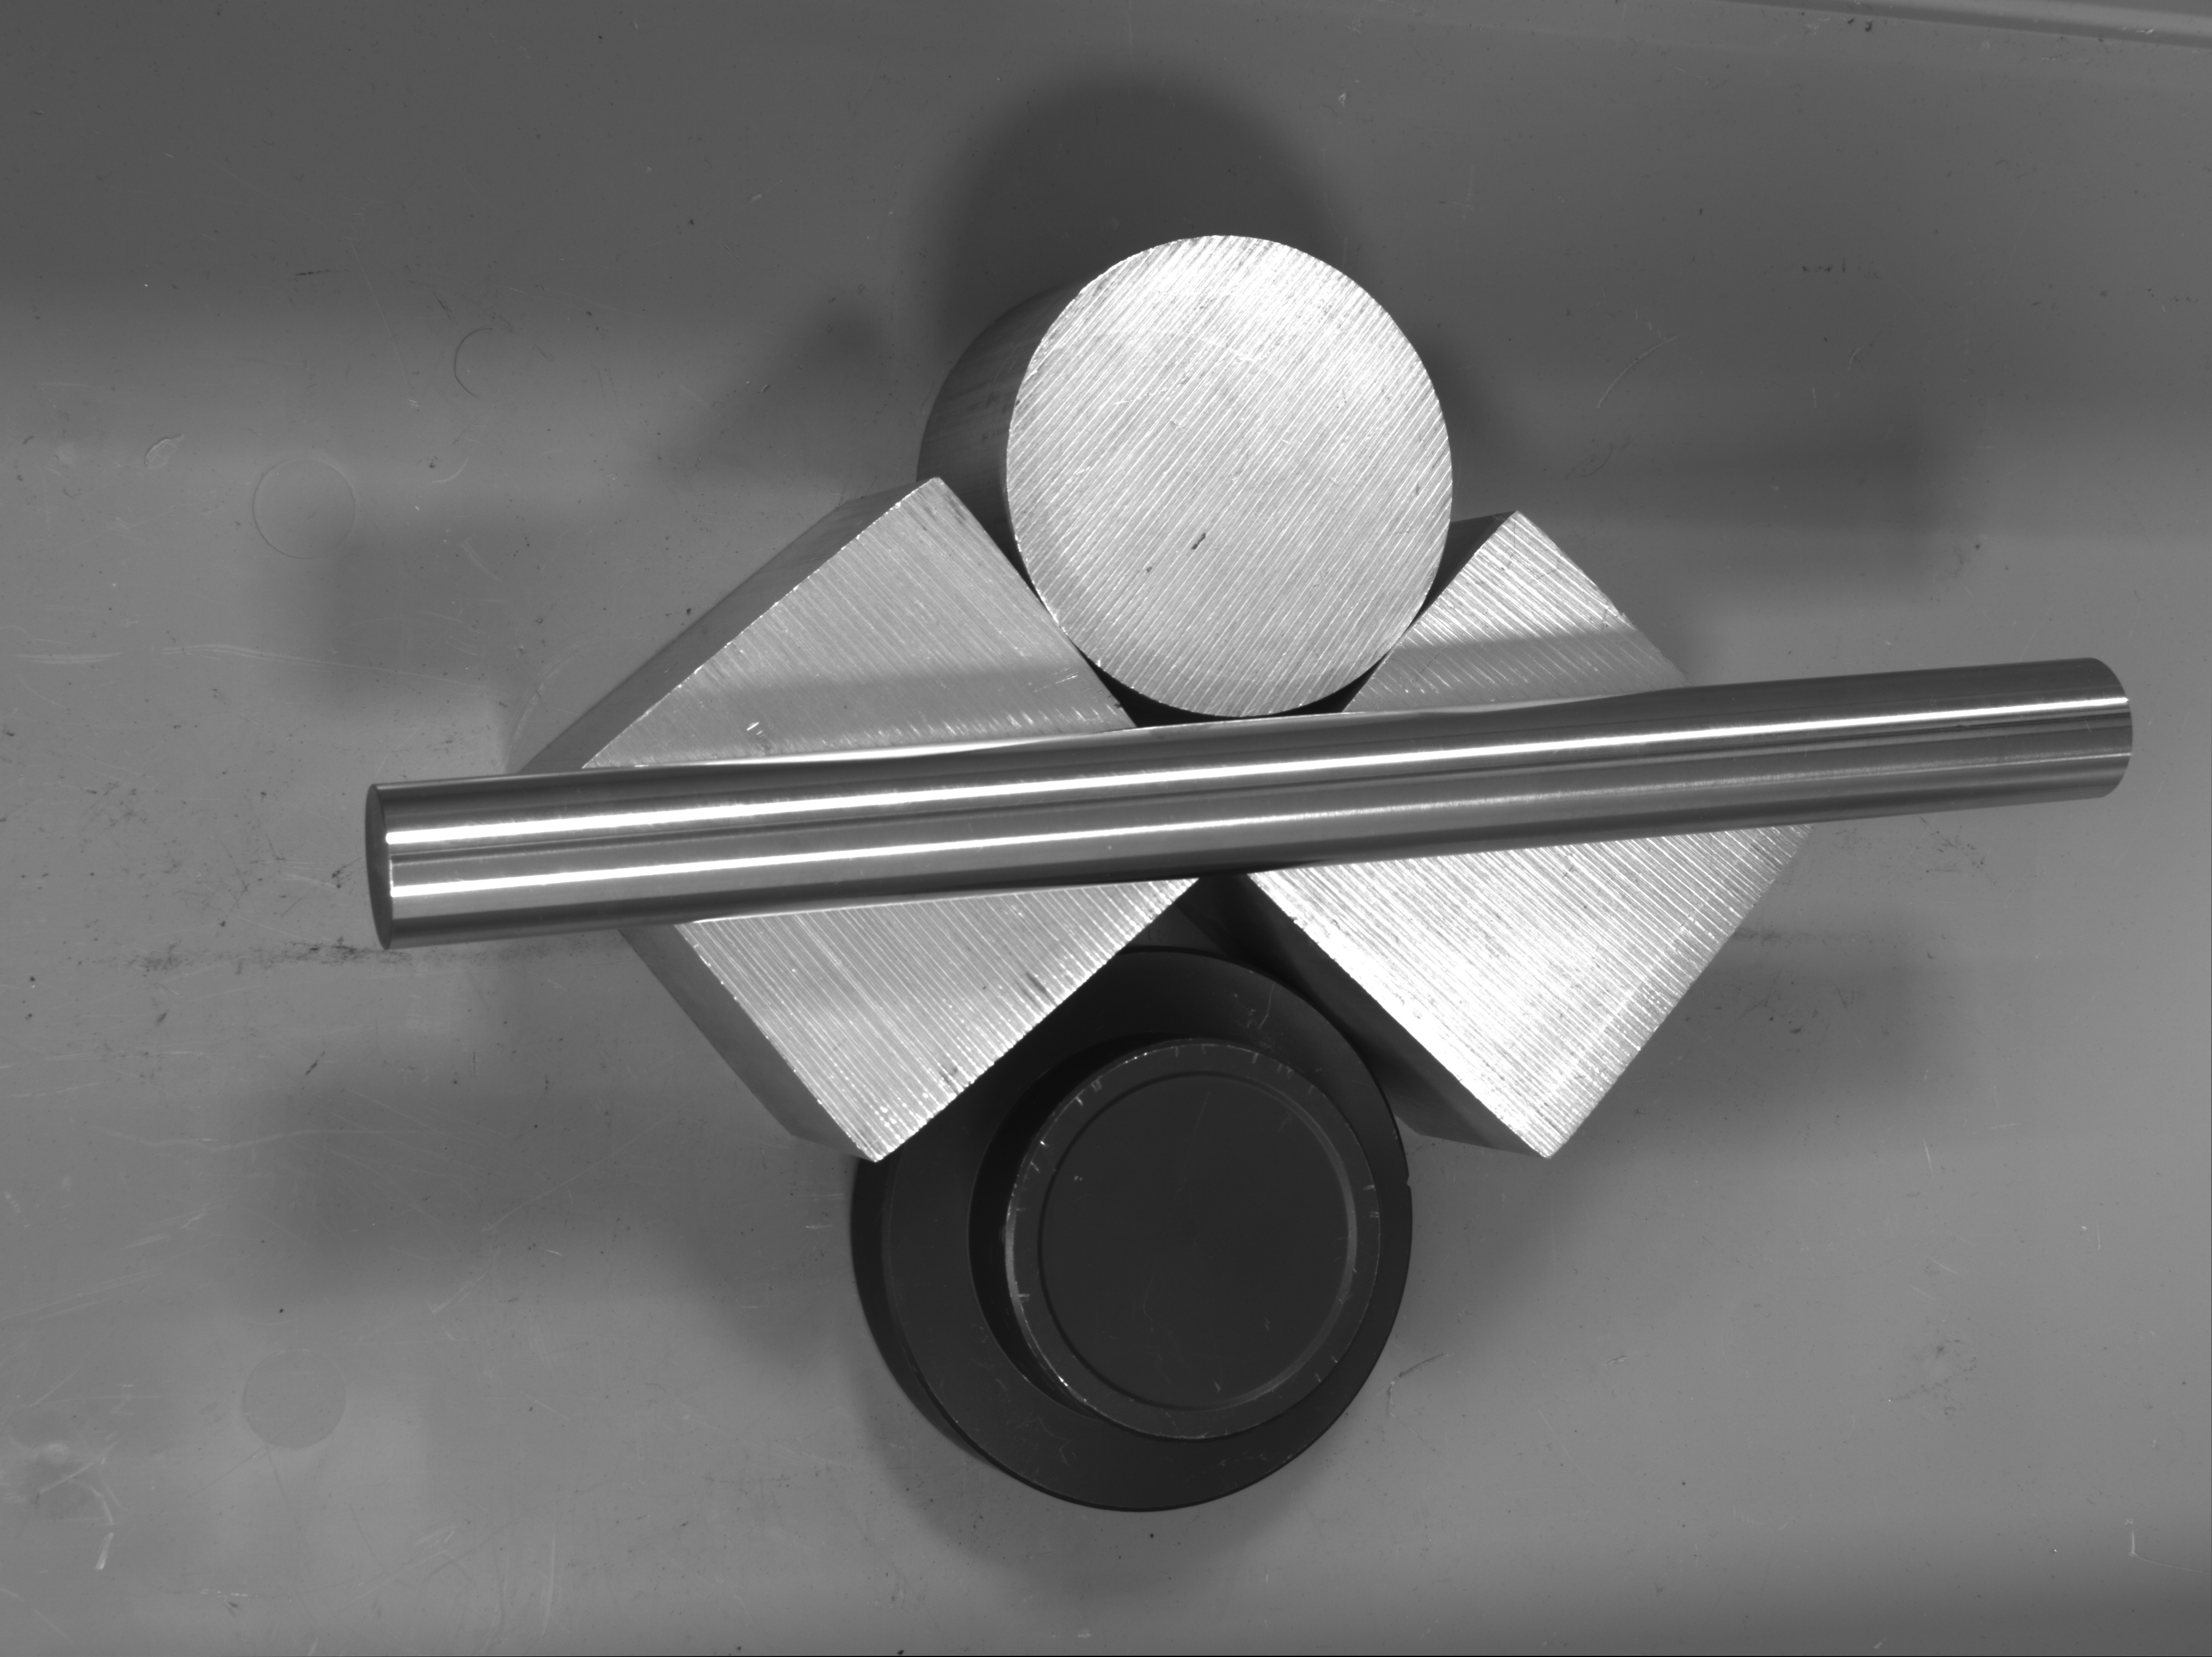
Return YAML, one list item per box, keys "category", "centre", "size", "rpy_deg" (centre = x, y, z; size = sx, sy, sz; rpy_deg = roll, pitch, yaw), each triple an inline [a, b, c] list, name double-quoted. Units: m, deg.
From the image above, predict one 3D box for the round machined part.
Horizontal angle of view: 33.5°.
- category: "round machined part"
  centre: [0.009, 0.070, 0.636]
  size: [0.098, 0.042, 0.098]
  rpy_deg: [0, 90, -20]

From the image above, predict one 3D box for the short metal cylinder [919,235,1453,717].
- category: "short metal cylinder"
  centre: [0.013, -0.059, 0.633]
  size: [0.080, 0.050, 0.080]
  rpy_deg: [0, 90, -20]

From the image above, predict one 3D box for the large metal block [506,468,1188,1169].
- category: "large metal block"
  centre: [-0.041, -0.002, 0.614]
  size: [0.080, 0.050, 0.080]
  rpy_deg: [-41, 105, -16]

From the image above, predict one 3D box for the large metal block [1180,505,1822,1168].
- category: "large metal block"
  centre: [0.066, 0.001, 0.650]
  size: [0.080, 0.050, 0.080]
  rpy_deg: [44, 77, -14]

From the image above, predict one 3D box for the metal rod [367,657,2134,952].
- category: "metal rod"
  centre: [0.033, -0.006, 0.599]
  size: [0.301, 0.025, 0.025]
  rpy_deg: [-5, 92, -19]
